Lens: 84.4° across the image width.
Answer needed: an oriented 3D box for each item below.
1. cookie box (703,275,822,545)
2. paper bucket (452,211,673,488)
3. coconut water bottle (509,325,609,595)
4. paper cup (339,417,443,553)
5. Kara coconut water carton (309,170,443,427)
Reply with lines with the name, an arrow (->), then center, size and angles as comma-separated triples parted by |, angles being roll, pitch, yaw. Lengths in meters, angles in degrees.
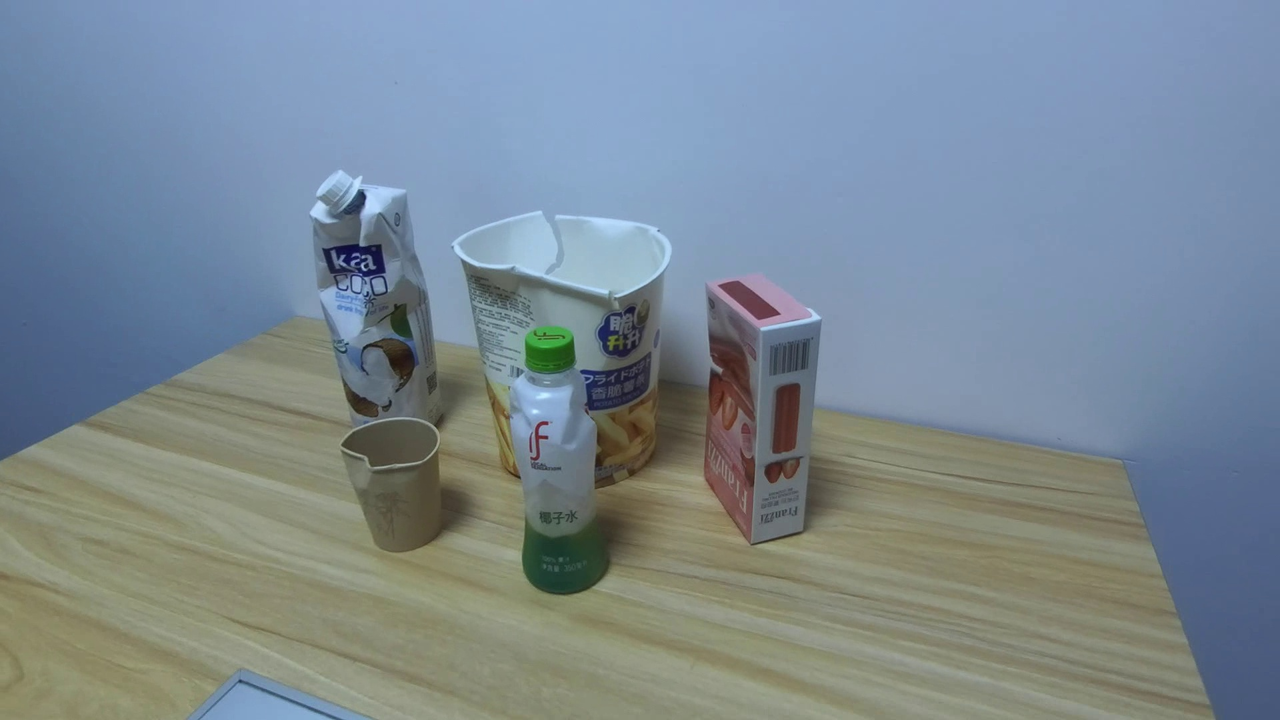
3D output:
cookie box -> 0.087, 0.035, 0.540 | 0.049, 0.188, 0.105 | -9, 28, -15
paper bucket -> -0.060, -0.011, 0.619 | 0.202, 0.197, 0.146 | 15, 31, 28
coconut water bottle -> -0.054, 0.068, 0.478 | 0.069, 0.186, 0.069 | -1, 29, 1
paper cup -> -0.186, 0.097, 0.544 | 0.073, 0.081, 0.068 | -8, 27, -15
Kara coconut water carton -> -0.239, -0.046, 0.635 | 0.083, 0.256, 0.078 | 8, 31, 14
